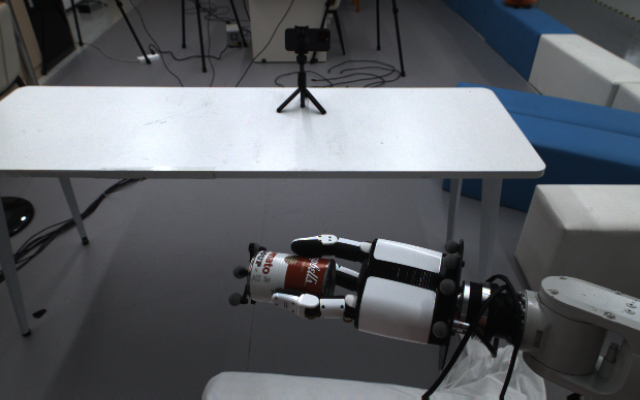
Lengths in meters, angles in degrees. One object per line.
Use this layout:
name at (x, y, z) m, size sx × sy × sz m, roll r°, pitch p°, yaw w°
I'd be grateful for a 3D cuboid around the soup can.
soup can at (-0.033, 0.104, 0.629) m, size 0.101 × 0.067 × 0.067 m, roll 5°, pitch 34°, yaw 13°
